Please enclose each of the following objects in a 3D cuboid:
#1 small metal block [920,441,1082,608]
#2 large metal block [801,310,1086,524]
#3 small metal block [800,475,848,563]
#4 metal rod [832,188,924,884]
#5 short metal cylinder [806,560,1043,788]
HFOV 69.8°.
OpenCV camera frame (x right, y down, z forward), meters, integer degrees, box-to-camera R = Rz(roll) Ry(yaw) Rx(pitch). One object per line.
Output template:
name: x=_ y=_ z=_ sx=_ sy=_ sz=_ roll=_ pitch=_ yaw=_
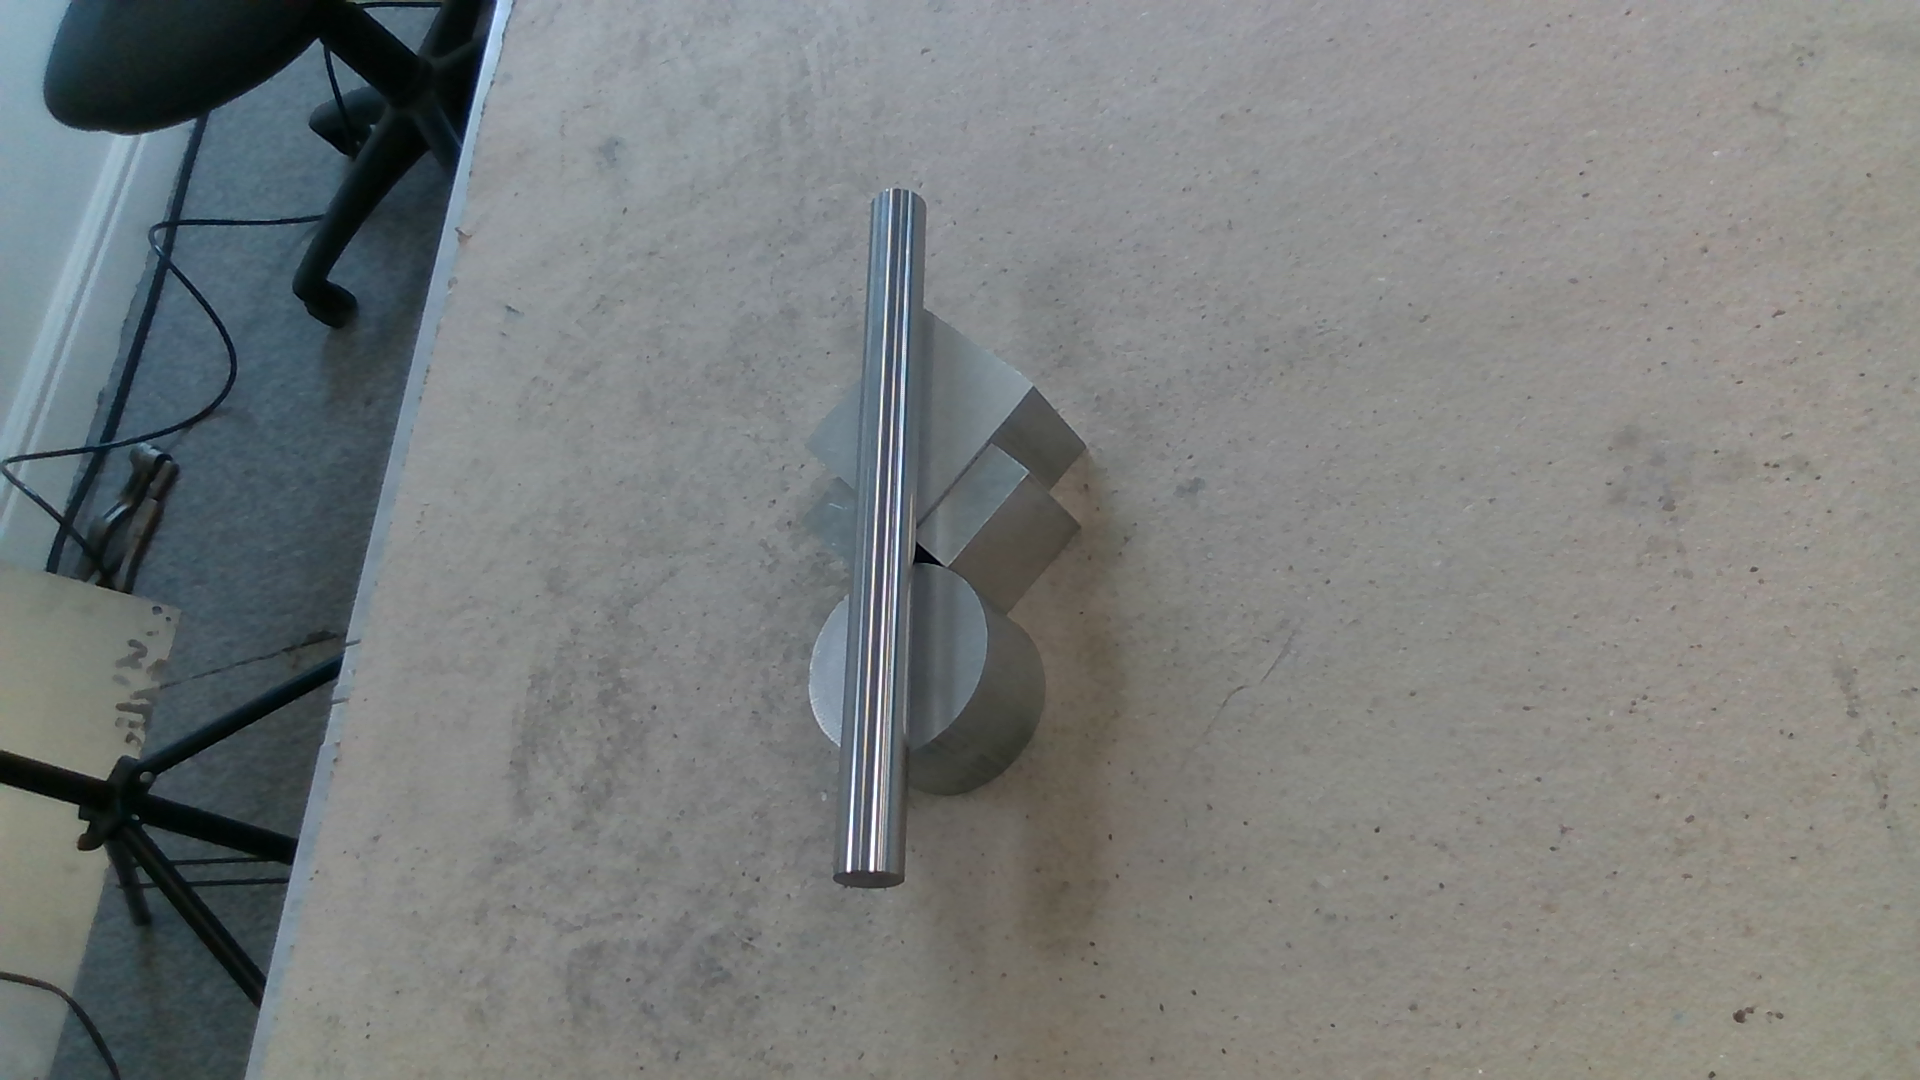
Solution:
small metal block: x=0.015 y=-0.004 z=0.564 sx=0.050 sy=0.050 sz=0.025 roll=-50 pitch=51 yaw=0
large metal block: x=-0.008 y=-0.042 z=0.595 sx=0.080 sy=0.050 sz=0.080 roll=-49 pitch=51 yaw=0
small metal block: x=-0.033 y=0.004 z=0.589 sx=0.025 sy=0.050 sz=0.050 roll=-50 pitch=51 yaw=0
metal rod: x=-0.030 y=-0.016 z=0.546 sx=0.025 sy=0.025 sz=0.299 roll=-13 pitch=59 yaw=25
short metal cylinder: x=-0.014 y=0.054 z=0.549 sx=0.080 sy=0.050 sz=0.080 roll=-14 pitch=59 yaw=25
